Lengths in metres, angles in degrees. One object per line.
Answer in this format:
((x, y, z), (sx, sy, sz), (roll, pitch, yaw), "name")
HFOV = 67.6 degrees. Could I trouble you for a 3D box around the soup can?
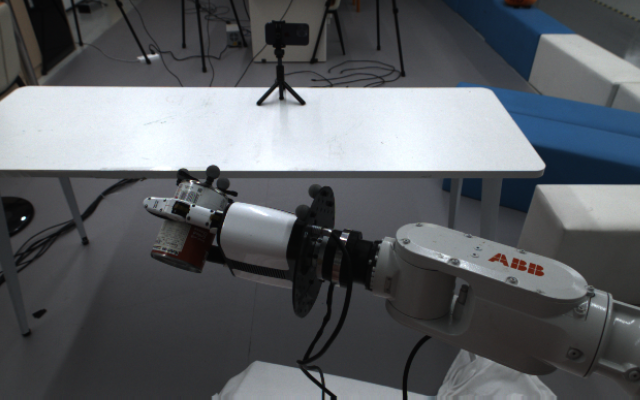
((-0.163, 0.035, 0.613), (0.067, 0.067, 0.101), (12, 71, 14), "soup can")
